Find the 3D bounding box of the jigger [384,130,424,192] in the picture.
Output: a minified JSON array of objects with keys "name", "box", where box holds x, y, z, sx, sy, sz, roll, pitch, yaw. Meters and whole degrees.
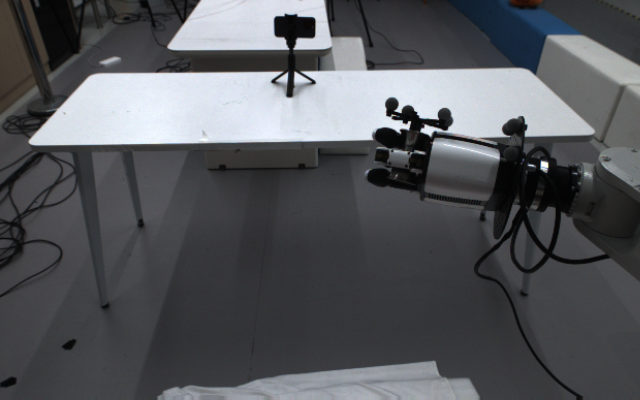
[{"name":"jigger","box":[0.121,-0.058,0.652,0.043,0.071,0.043,14,1,0]}]
